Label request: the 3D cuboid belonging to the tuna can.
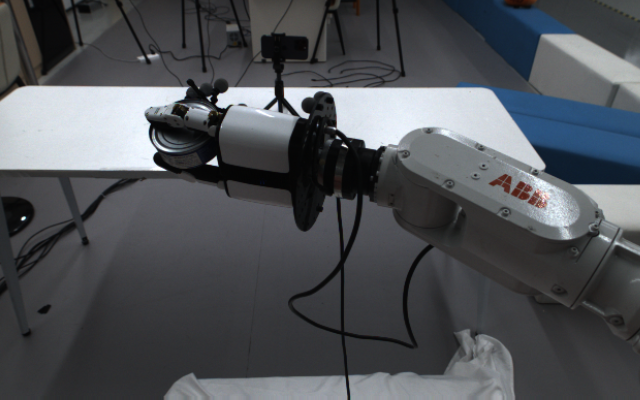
[{"bbox_3d":[-0.160,-0.082,0.589,0.085,0.034,0.085,-4,56,6],"label":"tuna can"}]
